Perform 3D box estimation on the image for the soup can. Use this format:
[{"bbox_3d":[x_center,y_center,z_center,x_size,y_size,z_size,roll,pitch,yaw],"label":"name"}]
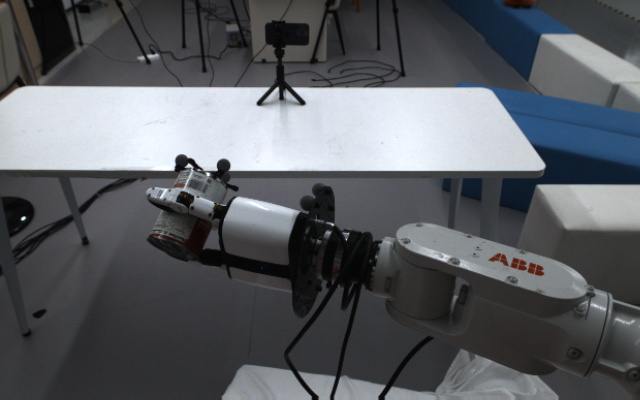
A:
[{"bbox_3d":[-0.167,0.020,0.621,0.067,0.067,0.101,12,66,14],"label":"soup can"}]
